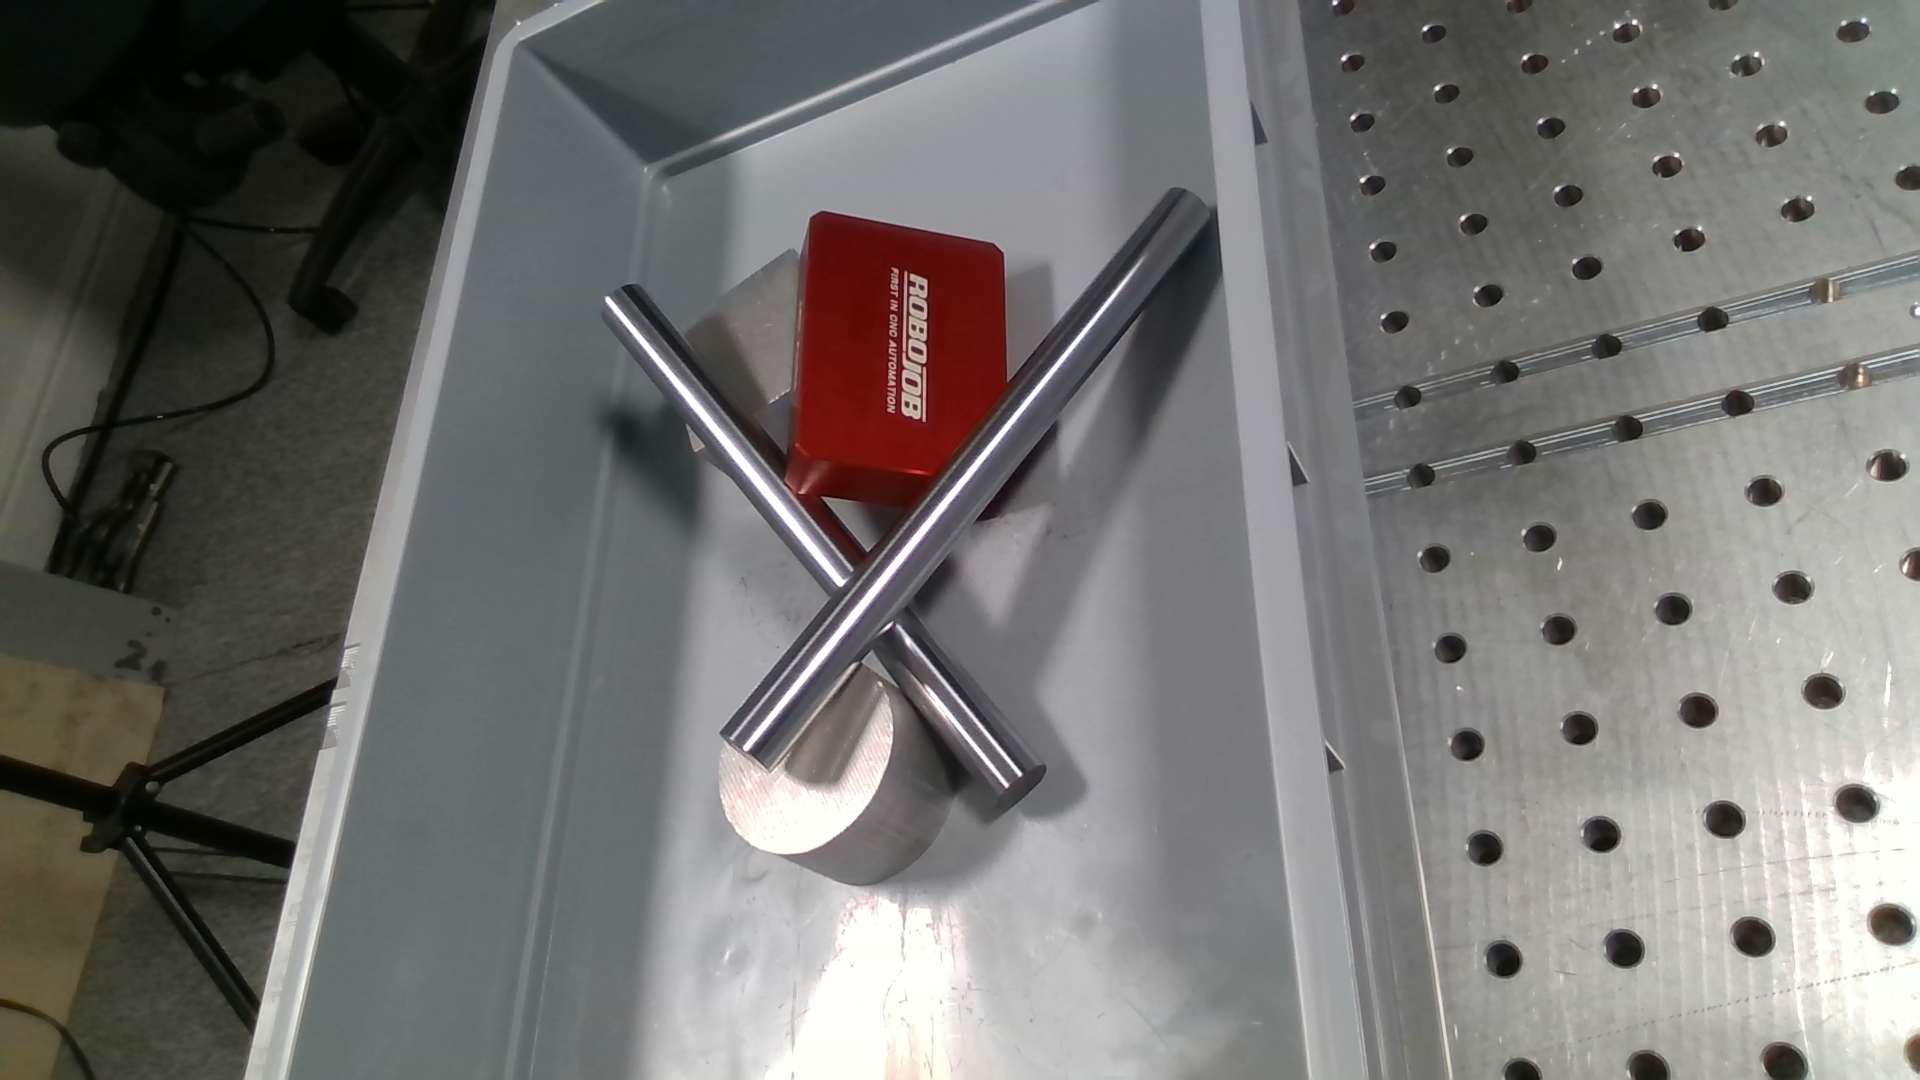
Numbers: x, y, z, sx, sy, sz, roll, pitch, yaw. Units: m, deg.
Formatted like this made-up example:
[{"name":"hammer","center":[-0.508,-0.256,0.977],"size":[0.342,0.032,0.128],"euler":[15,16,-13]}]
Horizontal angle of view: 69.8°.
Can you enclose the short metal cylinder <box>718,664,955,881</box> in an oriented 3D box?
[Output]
[{"name":"short metal cylinder","center":[-0.049,0.090,0.549],"size":[0.080,0.050,0.080],"euler":[-14,59,25]}]

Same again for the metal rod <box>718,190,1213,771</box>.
[{"name":"metal rod","center":[0.010,-0.032,0.557],"size":[0.025,0.025,0.300],"euler":[25,68,38]}]

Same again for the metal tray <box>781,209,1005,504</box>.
[{"name":"metal tray","center":[-0.027,-0.079,0.604],"size":[0.090,0.030,0.130],"euler":[8,60,-13]}]

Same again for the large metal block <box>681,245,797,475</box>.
[{"name":"large metal block","center":[-0.090,-0.080,0.662],"size":[0.080,0.050,0.080],"euler":[-31,53,14]}]

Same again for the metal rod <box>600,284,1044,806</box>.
[{"name":"metal rod","center":[-0.068,-0.009,0.583],"size":[0.025,0.025,0.299],"euler":[-44,65,4]}]
